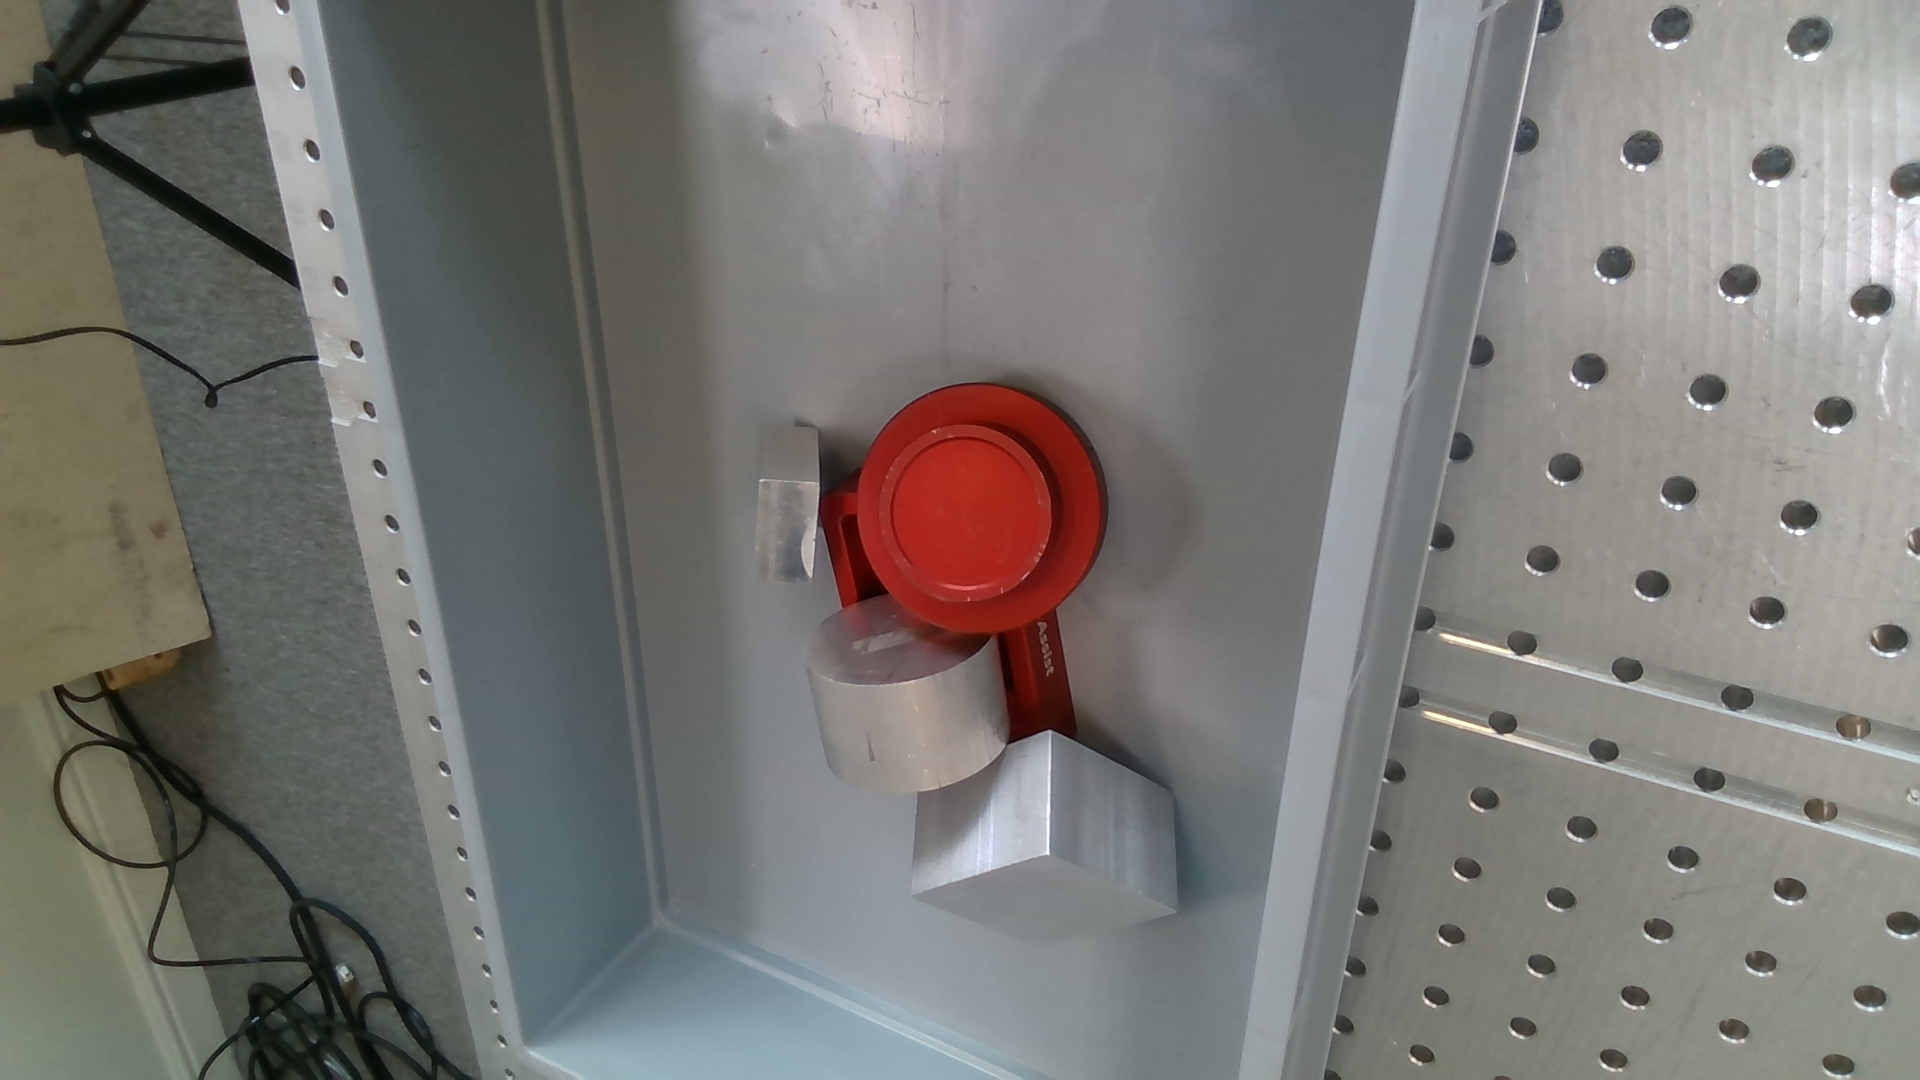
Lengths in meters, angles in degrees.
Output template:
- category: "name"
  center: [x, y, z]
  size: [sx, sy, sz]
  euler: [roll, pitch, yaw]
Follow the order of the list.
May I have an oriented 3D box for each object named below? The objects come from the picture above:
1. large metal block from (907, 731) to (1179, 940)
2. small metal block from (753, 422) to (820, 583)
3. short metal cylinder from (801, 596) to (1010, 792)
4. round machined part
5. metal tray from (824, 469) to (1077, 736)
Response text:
- category: "large metal block"
  center: [0.036, 0.129, 0.586]
  size: [0.080, 0.050, 0.080]
  euler: [30, 139, -33]
- category: "small metal block"
  center: [-0.075, -0.017, 0.597]
  size: [0.025, 0.050, 0.050]
  euler: [3, 122, -9]
- category: "short metal cylinder"
  center: [-0.022, 0.061, 0.574]
  size: [0.080, 0.080, 0.050]
  euler: [5, 118, 29]
- category: "round machined part"
  center: [0.006, -0.012, 0.533]
  size: [0.098, 0.042, 0.098]
  euler: [1, 95, 12]
- category: "metal tray"
  center: [-0.004, 0.033, 0.598]
  size: [0.090, 0.030, 0.130]
  euler: [3, 117, 30]
